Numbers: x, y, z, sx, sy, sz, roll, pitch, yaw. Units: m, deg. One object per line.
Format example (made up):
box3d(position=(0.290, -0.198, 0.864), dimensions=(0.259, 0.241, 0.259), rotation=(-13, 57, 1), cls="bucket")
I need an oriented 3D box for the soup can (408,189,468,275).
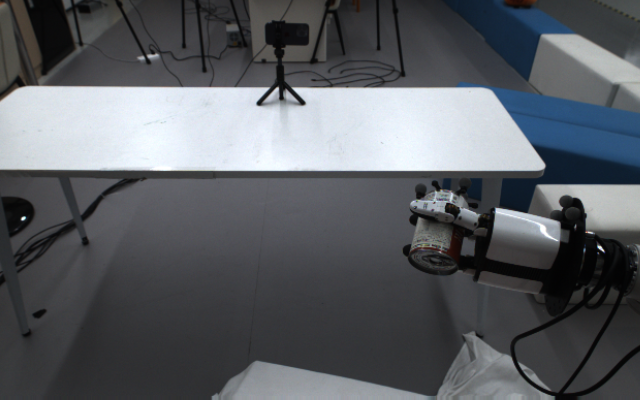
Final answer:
box3d(position=(0.167, 0.042, 0.676), dimensions=(0.067, 0.067, 0.101), rotation=(12, 59, 14), cls="soup can")
